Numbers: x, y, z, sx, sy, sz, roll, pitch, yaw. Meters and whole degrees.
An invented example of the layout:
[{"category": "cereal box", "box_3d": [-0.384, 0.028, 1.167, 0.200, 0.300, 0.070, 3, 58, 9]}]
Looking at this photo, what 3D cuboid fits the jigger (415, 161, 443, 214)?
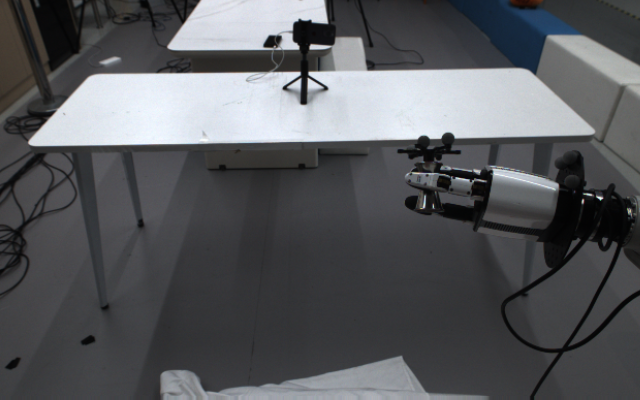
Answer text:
[{"category": "jigger", "box_3d": [0.152, -0.019, 0.687, 0.043, 0.071, 0.043, 2, -6, 0]}]
